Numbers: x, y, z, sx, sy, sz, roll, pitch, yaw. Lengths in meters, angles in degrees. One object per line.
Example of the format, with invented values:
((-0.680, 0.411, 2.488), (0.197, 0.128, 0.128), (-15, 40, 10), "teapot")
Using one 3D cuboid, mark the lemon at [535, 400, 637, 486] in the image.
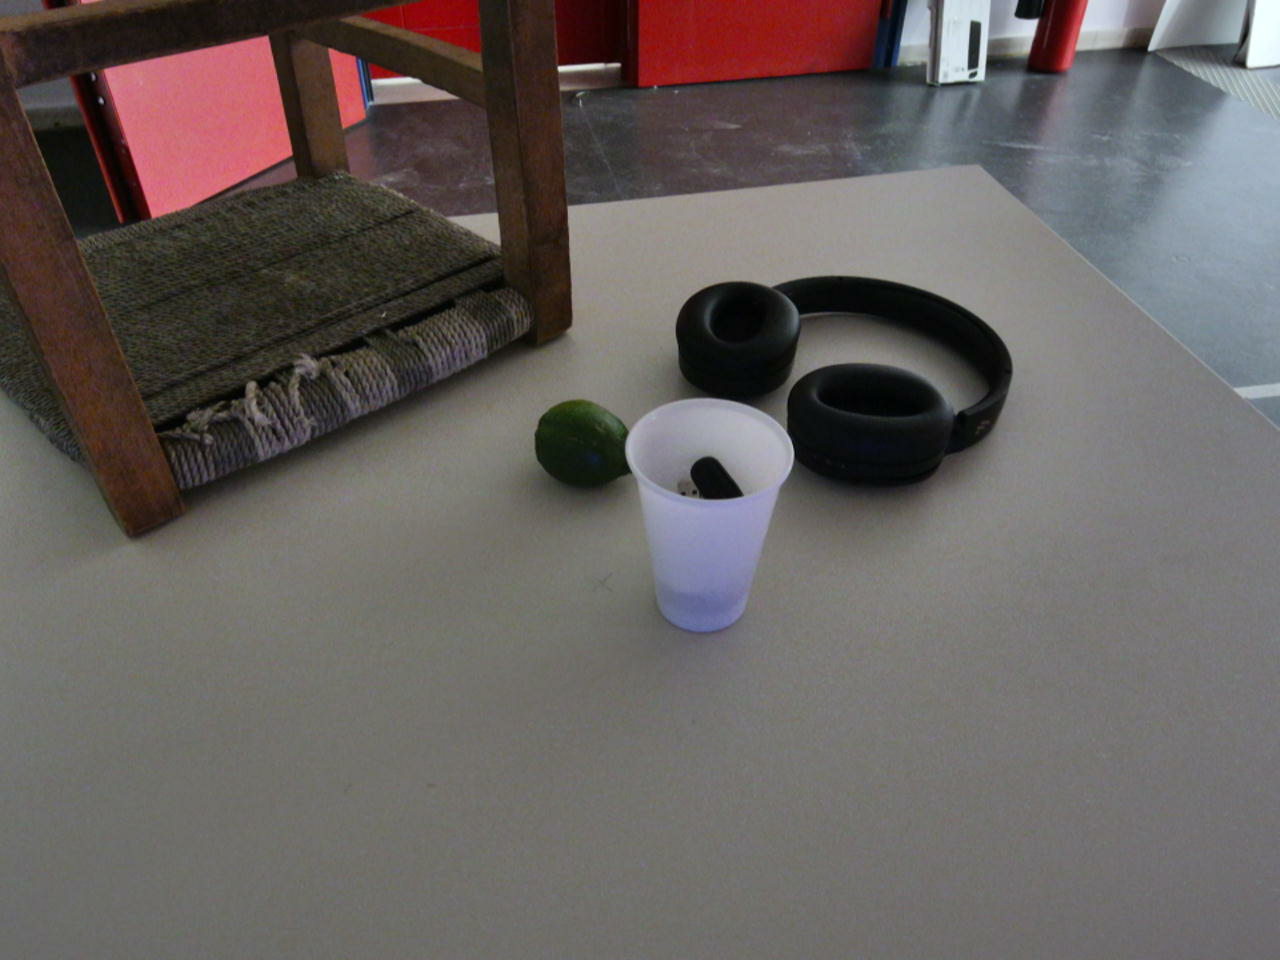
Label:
((-0.034, -0.023, 0.597), (0.057, 0.051, 0.054), (-11, 40, -13), "lemon")
